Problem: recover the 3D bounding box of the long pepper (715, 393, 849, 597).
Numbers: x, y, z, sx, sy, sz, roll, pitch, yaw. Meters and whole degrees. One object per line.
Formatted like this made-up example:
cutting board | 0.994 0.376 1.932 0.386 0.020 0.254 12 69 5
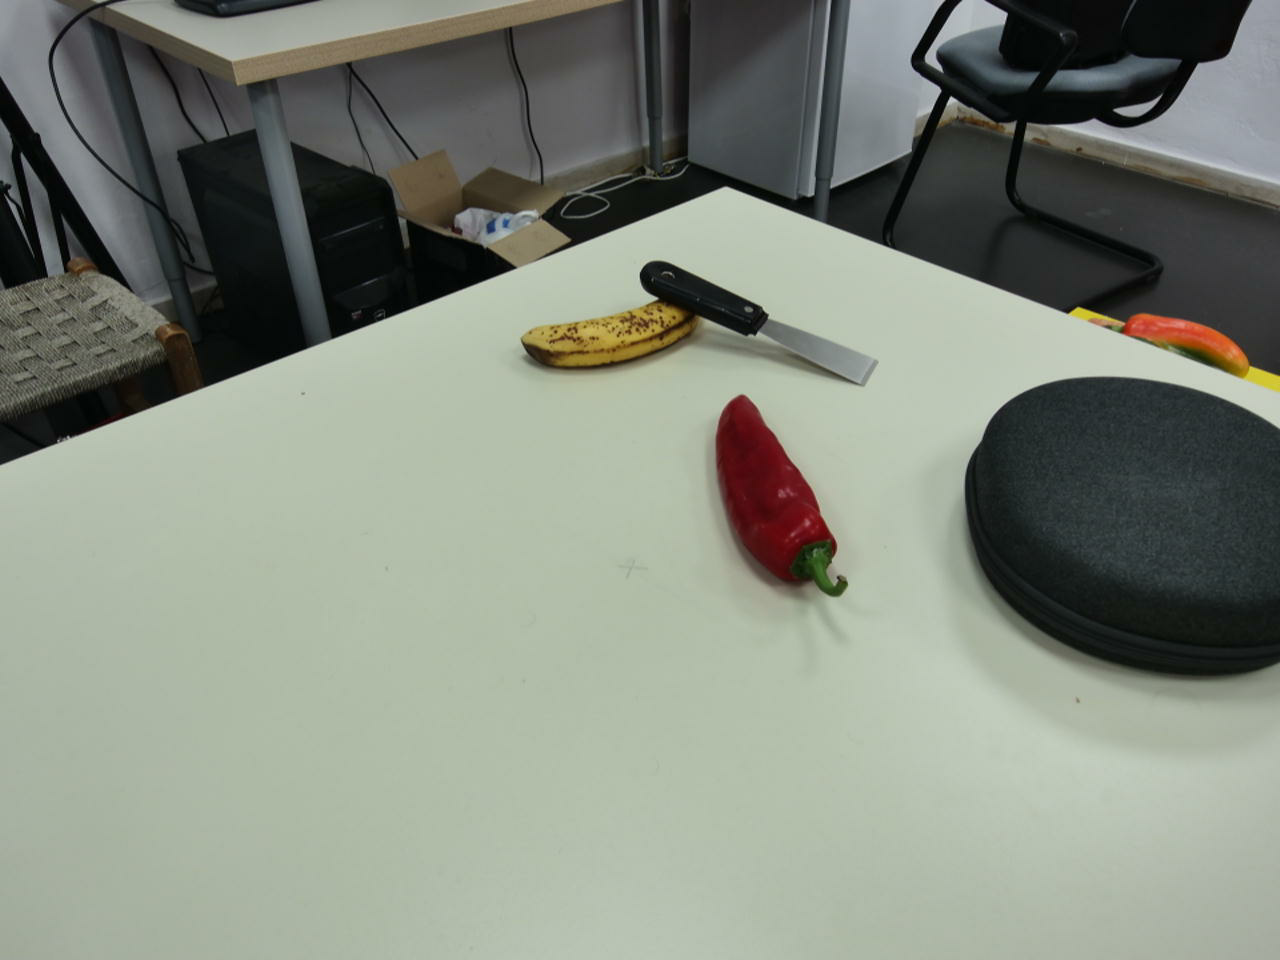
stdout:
long pepper | 0.077 0.005 0.603 0.050 0.043 0.211 -6 37 -7
